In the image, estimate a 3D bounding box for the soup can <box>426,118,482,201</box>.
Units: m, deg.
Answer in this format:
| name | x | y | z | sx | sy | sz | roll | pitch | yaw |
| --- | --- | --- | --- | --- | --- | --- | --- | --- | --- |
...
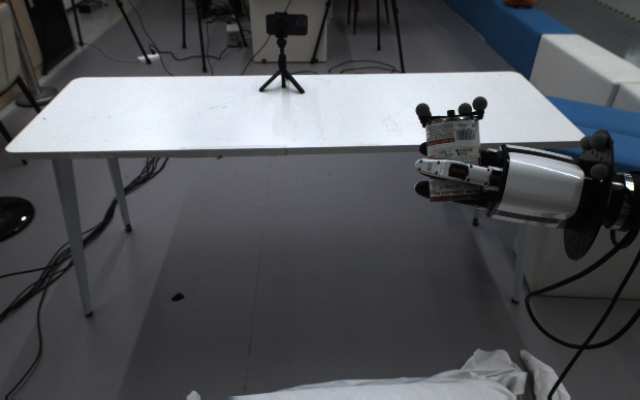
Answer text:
| name | x | y | z | sx | sy | sz | roll | pitch | yaw |
| --- | --- | --- | --- | --- | --- | --- | --- | --- | --- |
| soup can | 0.173 | -0.050 | 0.618 | 0.067 | 0.101 | 0.067 | -3 | -1 | 0 |
